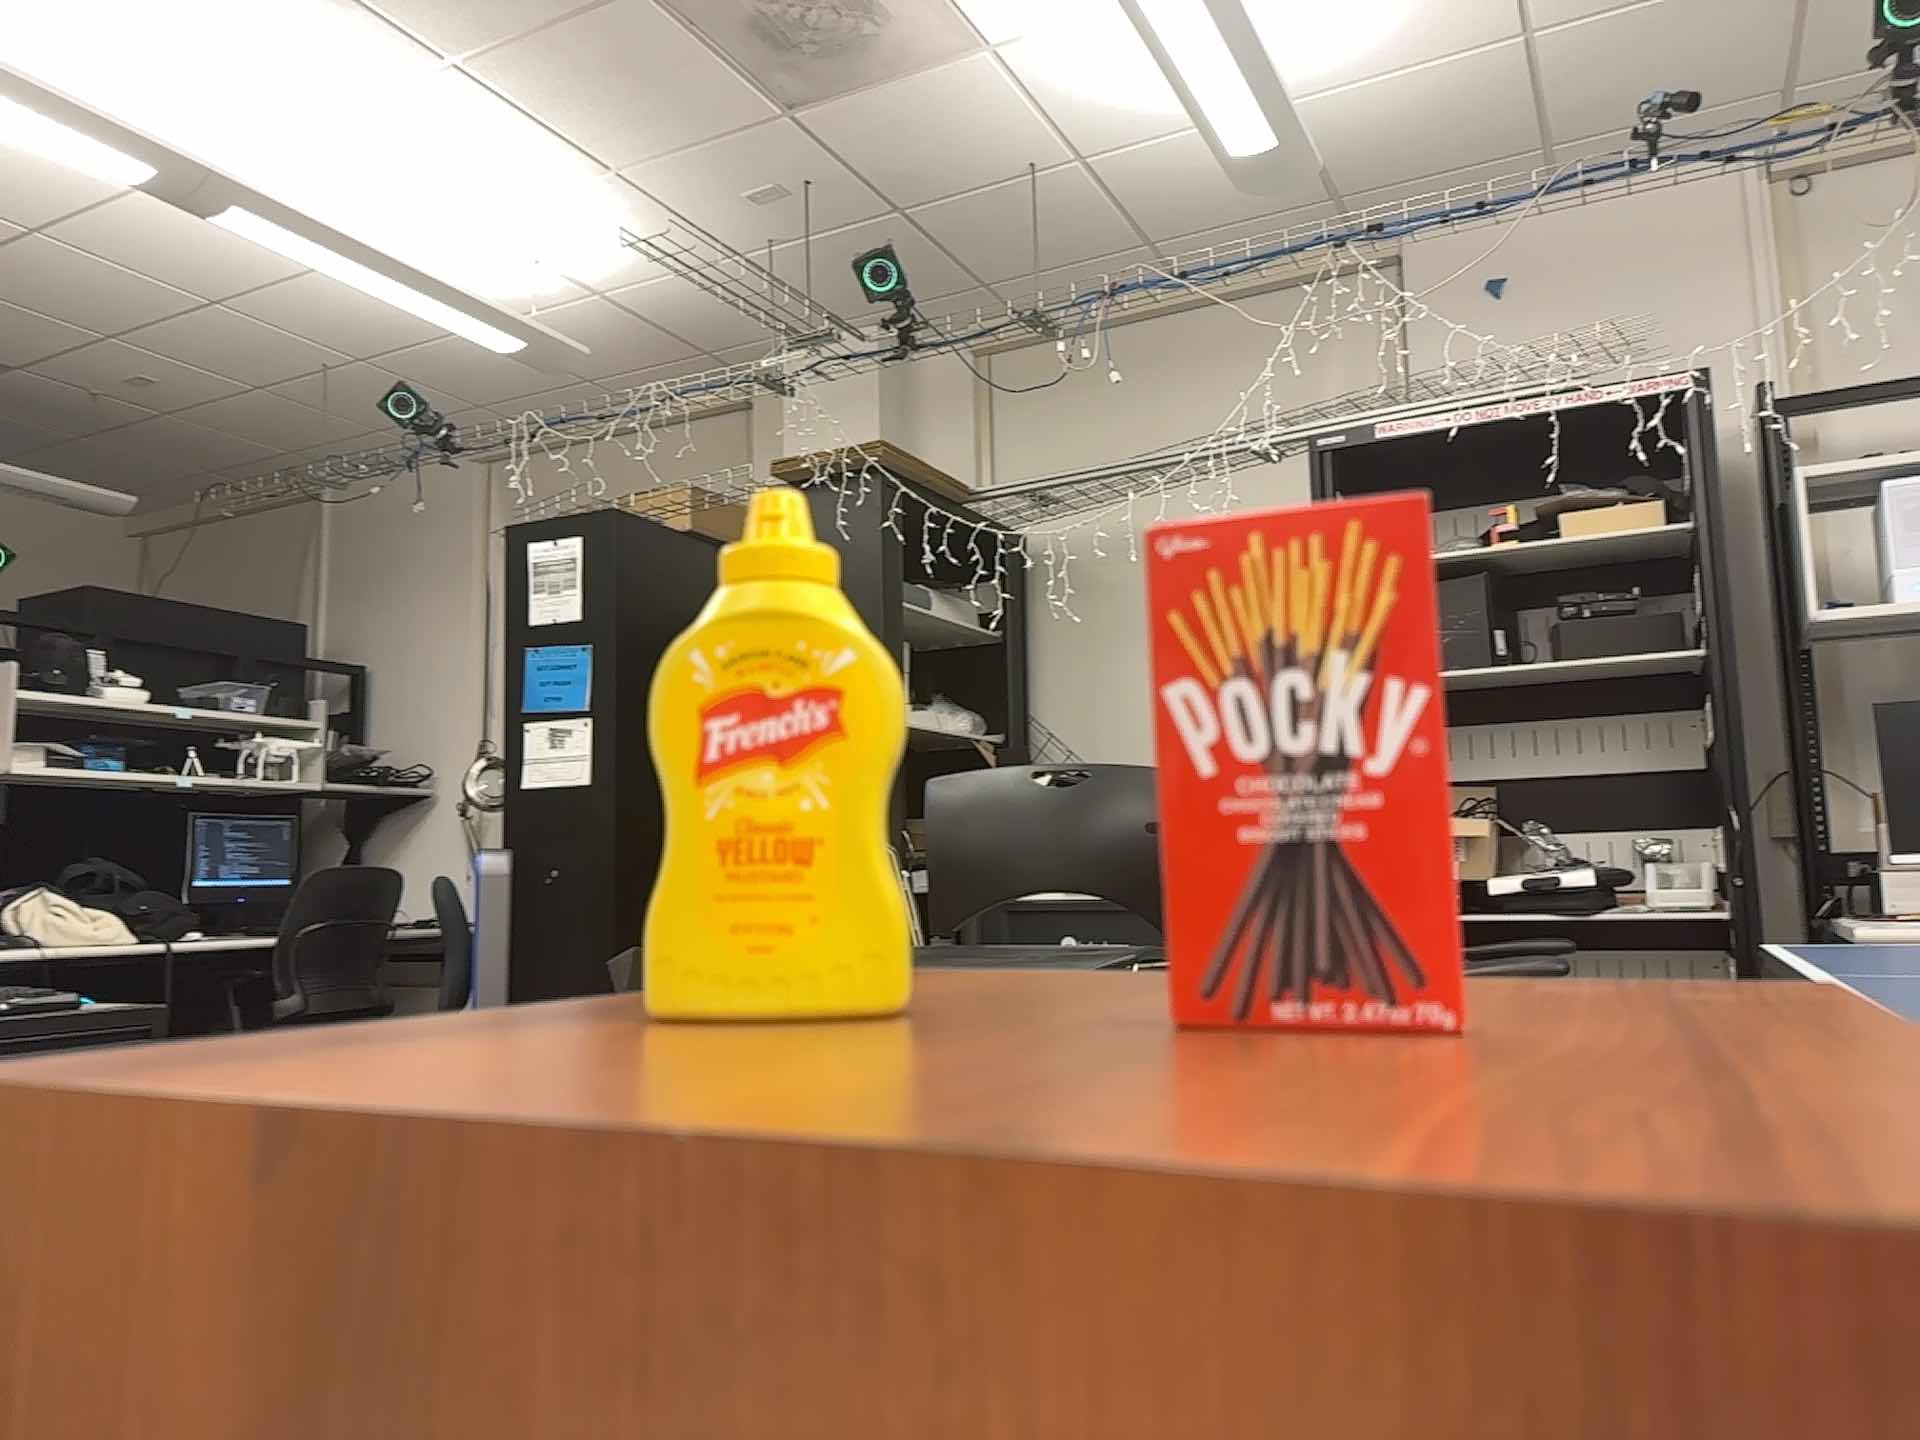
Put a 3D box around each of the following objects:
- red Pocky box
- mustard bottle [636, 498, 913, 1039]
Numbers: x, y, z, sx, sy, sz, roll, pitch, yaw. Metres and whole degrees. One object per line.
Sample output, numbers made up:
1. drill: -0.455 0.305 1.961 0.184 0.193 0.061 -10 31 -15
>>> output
1. red Pocky box: 0.097 0.014 0.391 0.083 0.155 0.028 -5 -10 21
2. mustard bottle: -0.063 0.013 0.458 0.092 0.184 0.054 -2 -10 9
